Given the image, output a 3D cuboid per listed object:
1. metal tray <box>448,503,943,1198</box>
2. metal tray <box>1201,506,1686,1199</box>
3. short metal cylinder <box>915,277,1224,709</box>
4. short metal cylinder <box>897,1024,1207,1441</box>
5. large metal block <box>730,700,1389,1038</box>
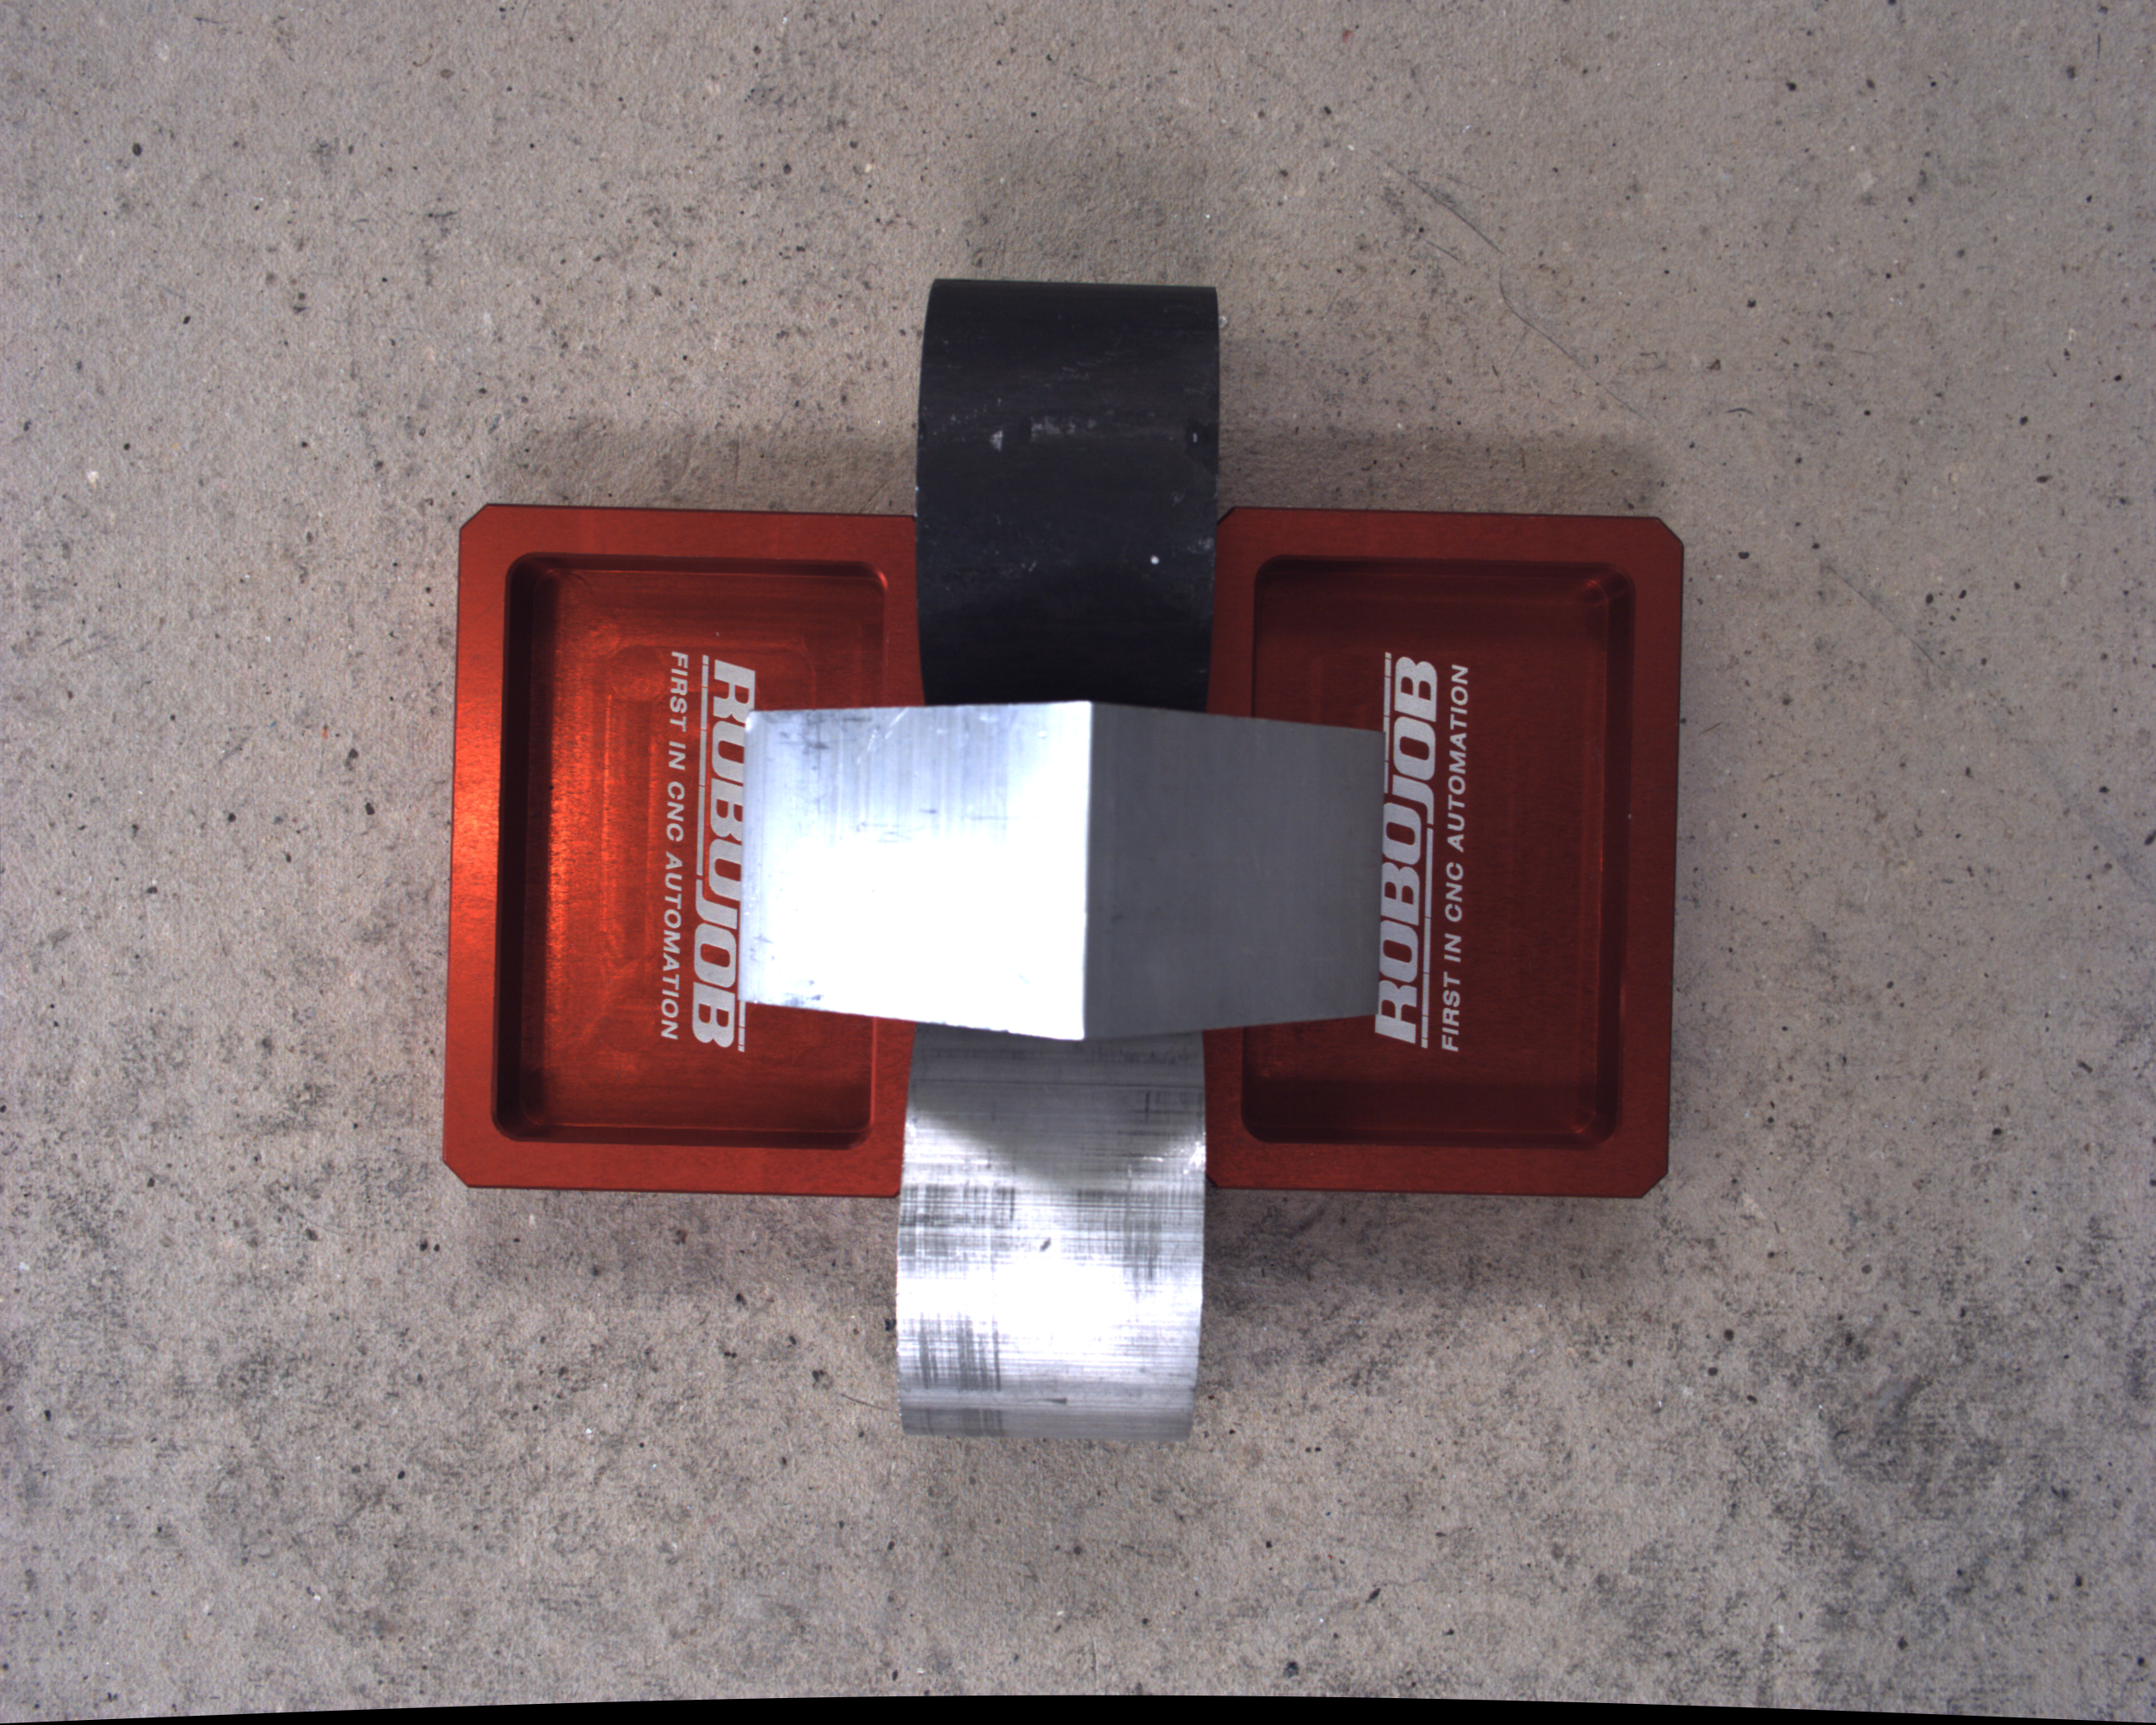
[{"bbox_3d":[-0.072,-0.002,0.408,0.091,0.030,0.129,2,90,0],"label":"metal tray"},{"bbox_3d":[0.068,-0.002,0.409,0.091,0.030,0.129,2,90,0],"label":"metal tray"},{"bbox_3d":[-0.001,-0.065,0.383,0.050,0.080,0.079,2,90,0],"label":"short metal cylinder"},{"bbox_3d":[-0.004,0.065,0.383,0.050,0.080,0.079,2,90,0],"label":"short metal cylinder"},{"bbox_3d":[-0.002,0.000,0.363,0.080,0.081,0.050,2,91,40],"label":"large metal block"}]
